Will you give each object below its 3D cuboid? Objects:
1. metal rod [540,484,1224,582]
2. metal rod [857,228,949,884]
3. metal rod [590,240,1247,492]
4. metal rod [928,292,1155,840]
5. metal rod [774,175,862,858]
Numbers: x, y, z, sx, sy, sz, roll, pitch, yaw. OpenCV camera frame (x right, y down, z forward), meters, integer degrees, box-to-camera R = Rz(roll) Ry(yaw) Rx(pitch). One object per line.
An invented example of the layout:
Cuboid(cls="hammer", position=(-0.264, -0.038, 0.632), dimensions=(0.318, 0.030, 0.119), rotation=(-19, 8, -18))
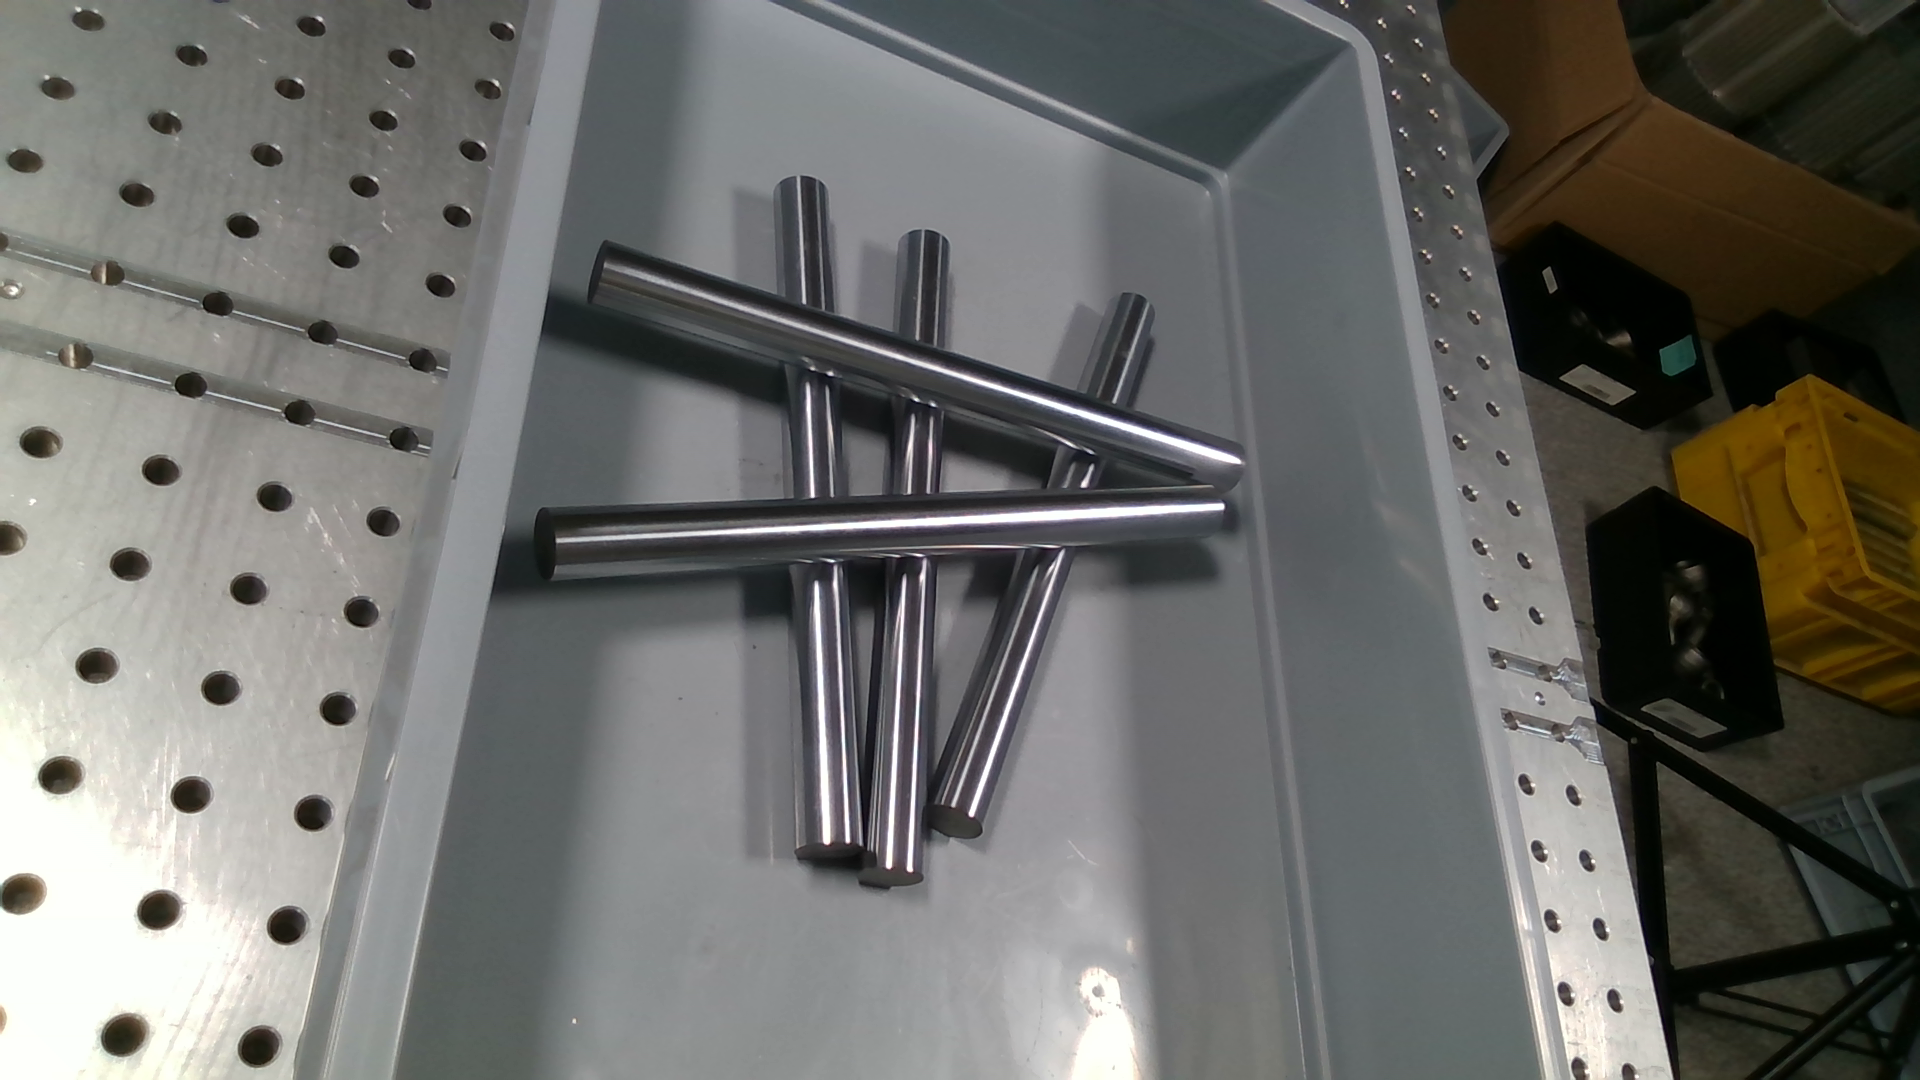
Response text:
Cuboid(cls="metal rod", position=(-0.014, -0.006, 0.547), dimensions=(0.300, 0.025, 0.025), rotation=(-3, 67, -33))
Cuboid(cls="metal rod", position=(-0.021, -0.008, 0.575), dimensions=(0.025, 0.025, 0.299), rotation=(16, 58, -24))
Cuboid(cls="metal rod", position=(-0.005, -0.068, 0.585), dimensions=(0.300, 0.025, 0.025), rotation=(14, 59, -25))
Cuboid(cls="metal rod", position=(0.042, -0.004, 0.612), dimensions=(0.025, 0.025, 0.299), rotation=(32, 53, -13))
Cuboid(cls="metal rod", position=(-0.060, -0.023, 0.560), dimensions=(0.025, 0.025, 0.299), rotation=(9, 61, -27))
